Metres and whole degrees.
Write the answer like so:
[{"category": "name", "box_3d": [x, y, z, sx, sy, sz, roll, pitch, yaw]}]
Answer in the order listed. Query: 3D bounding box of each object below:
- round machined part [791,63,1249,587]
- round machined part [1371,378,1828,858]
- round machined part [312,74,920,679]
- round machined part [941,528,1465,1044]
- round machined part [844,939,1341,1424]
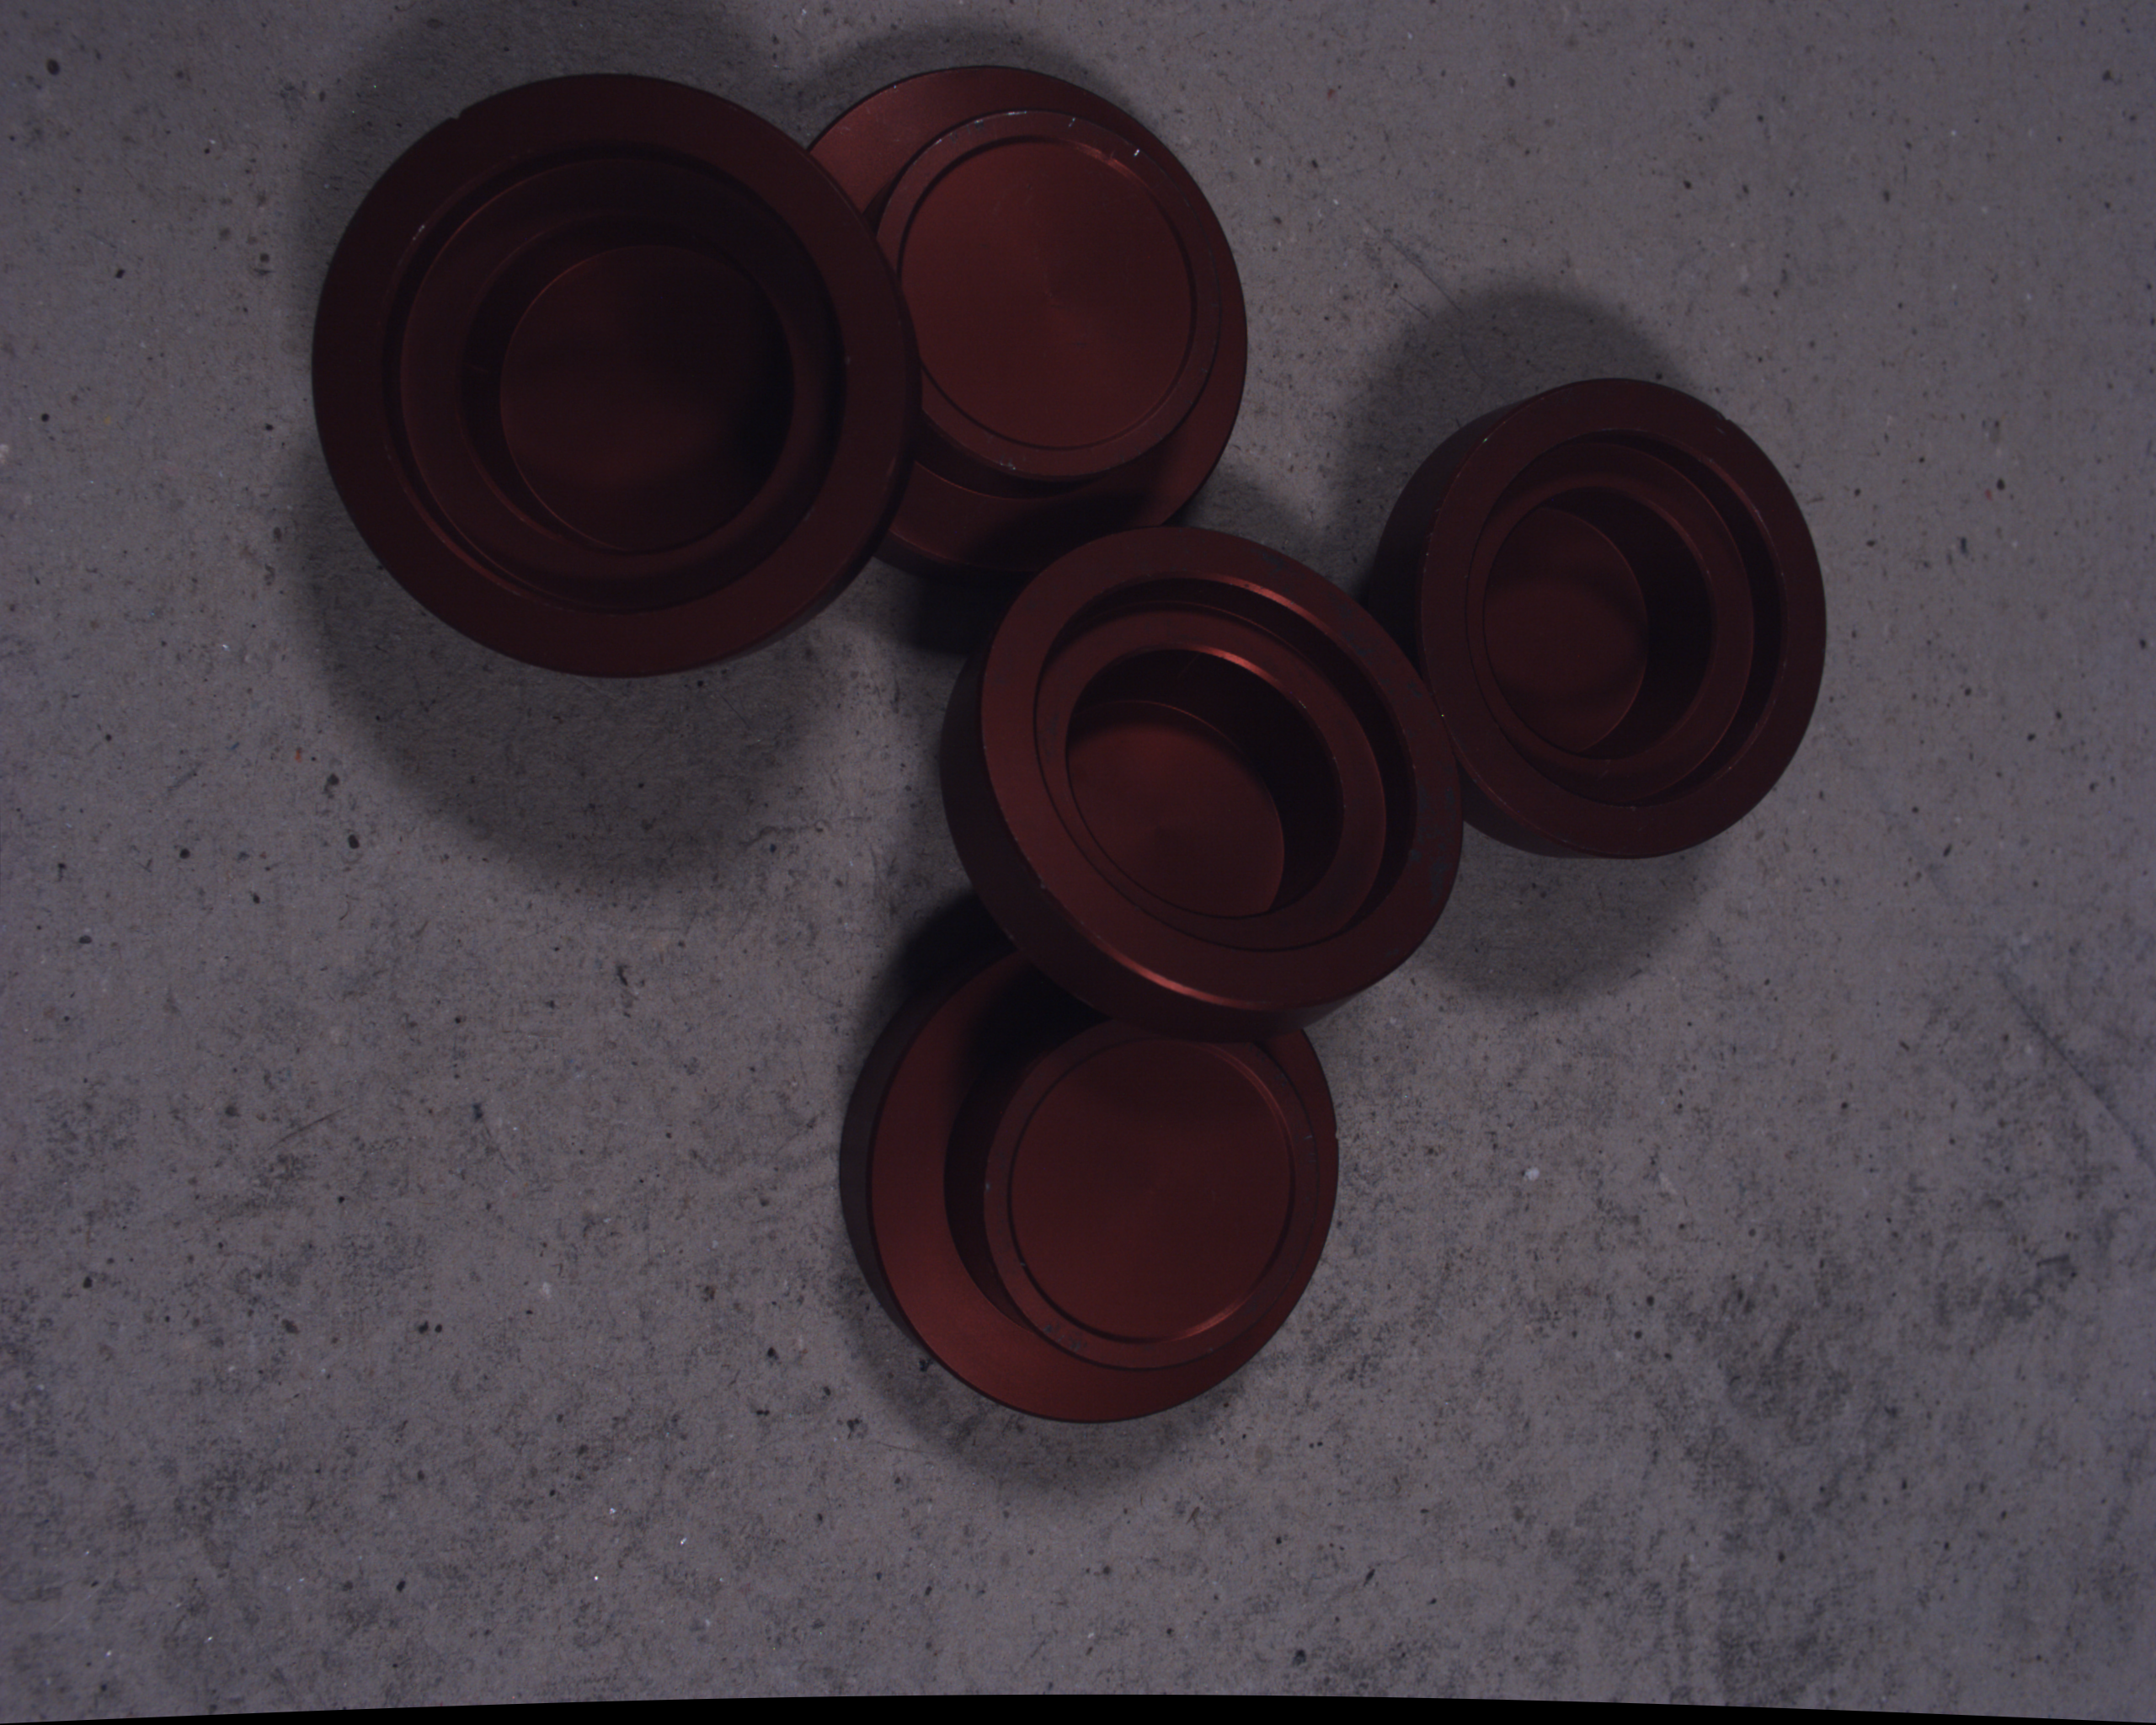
[{"category": "round machined part", "box_3d": [-0.012, -0.103, 0.397, 0.099, 0.042, 0.097, 0, 90, -21]}, {"category": "round machined part", "box_3d": [0.105, -0.050, 0.441, 0.099, 0.042, 0.097, 0, 90, -21]}, {"category": "round machined part", "box_3d": [-0.076, -0.081, 0.362, 0.099, 0.042, 0.097, 0, 97, 1]}, {"category": "round machined part", "box_3d": [0.021, -0.011, 0.399, 0.099, 0.042, 0.098, 9, 64, -19]}, {"category": "round machined part", "box_3d": [0.008, 0.060, 0.405, 0.099, 0.042, 0.097, 0, 90, -21]}]
